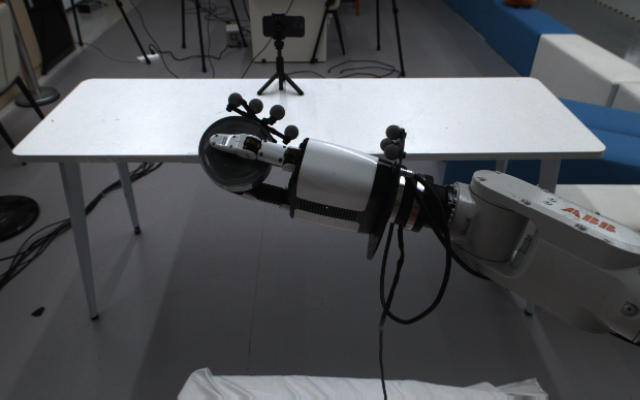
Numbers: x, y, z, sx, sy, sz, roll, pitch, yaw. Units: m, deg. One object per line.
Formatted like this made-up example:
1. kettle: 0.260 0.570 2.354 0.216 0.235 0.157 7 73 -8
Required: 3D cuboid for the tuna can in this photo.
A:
1. tuna can: -0.098 -0.054 0.576 0.085 0.034 0.085 1 76 -4
